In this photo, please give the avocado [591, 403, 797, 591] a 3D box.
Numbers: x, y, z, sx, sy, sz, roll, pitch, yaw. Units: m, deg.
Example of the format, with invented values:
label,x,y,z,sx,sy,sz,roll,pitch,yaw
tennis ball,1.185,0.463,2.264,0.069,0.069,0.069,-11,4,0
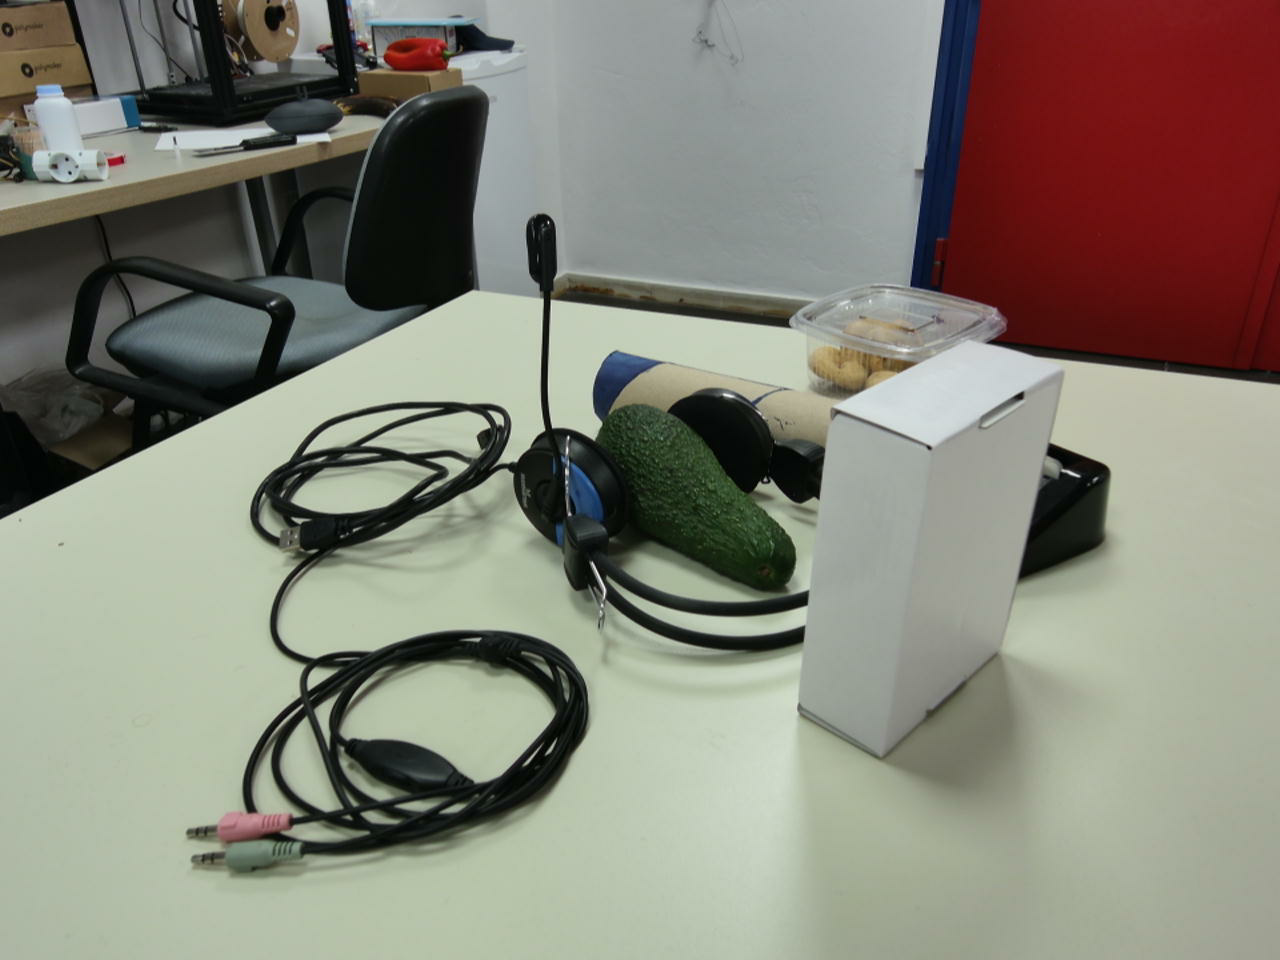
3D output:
label,x,y,z,sx,sy,sz,roll,pitch,yaw
avocado,0.029,0.003,0.517,0.141,0.067,0.063,20,31,36
